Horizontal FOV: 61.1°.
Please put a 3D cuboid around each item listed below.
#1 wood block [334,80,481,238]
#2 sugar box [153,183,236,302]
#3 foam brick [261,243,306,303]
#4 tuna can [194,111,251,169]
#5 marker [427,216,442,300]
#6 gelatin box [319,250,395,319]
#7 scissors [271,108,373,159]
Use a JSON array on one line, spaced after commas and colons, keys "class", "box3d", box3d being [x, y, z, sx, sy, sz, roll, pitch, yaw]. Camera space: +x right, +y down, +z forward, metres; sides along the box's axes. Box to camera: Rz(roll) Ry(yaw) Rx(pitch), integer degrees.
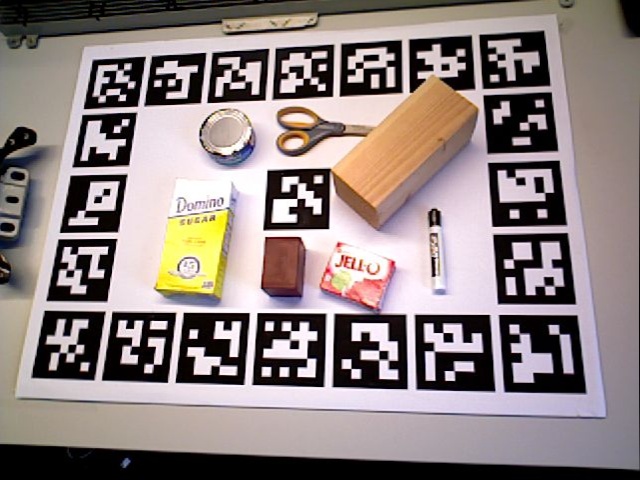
[{"class": "wood block", "box3d": [0.128, -0.114, 0.785, 0.205, 0.091, 0.090, -44, 71, -6]}, {"class": "sugar box", "box3d": [-0.187, 0.002, 0.822, 0.093, 0.045, 0.175, 5, 74, 9]}, {"class": "foam brick", "box3d": [-0.051, 0.049, 0.778, 0.053, 0.052, 0.077, 2, 74, 9]}, {"class": "tuna can", "box3d": [-0.154, -0.158, 0.866, 0.086, 0.034, 0.085, -3, 74, 8]}, {"class": "marker", "box3d": [0.163, 0.025, 0.771, 0.019, 0.020, 0.120, 2, 76, 9]}, {"class": "gelatin box", "box3d": [0.053, 0.062, 0.773, 0.089, 0.030, 0.073, 19, 78, 14]}, {"class": "scissors", "box3d": [0.019, -0.163, 0.853, 0.203, 0.016, 0.087, 7, 75, 13]}]
